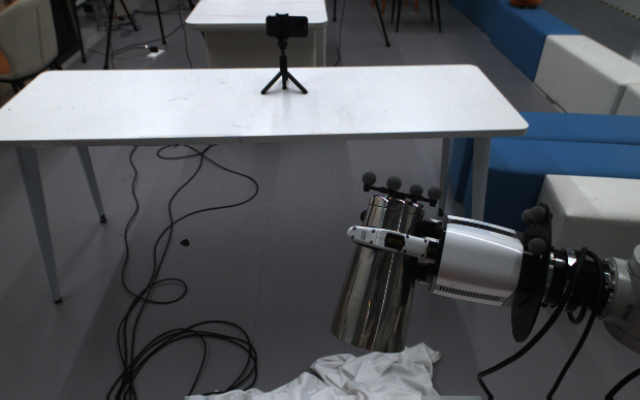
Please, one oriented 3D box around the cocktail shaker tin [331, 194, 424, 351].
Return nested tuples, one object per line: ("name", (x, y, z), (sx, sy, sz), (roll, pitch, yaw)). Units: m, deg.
("cocktail shaker tin", (0.079, 0.081, 0.584), (0.093, 0.170, 0.093), (13, 1, 0))
